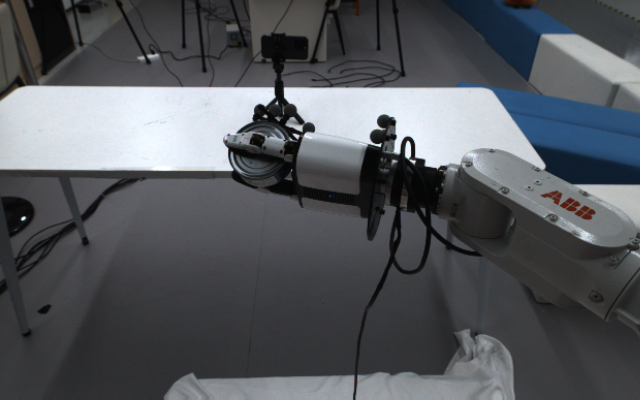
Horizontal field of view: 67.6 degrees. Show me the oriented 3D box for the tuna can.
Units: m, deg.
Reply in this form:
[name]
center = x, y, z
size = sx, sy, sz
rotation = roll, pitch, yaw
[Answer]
[tuna can]
center = -0.077, -0.063, 0.651
size = 0.085, 0.034, 0.085
rotation = -4, 67, 10
